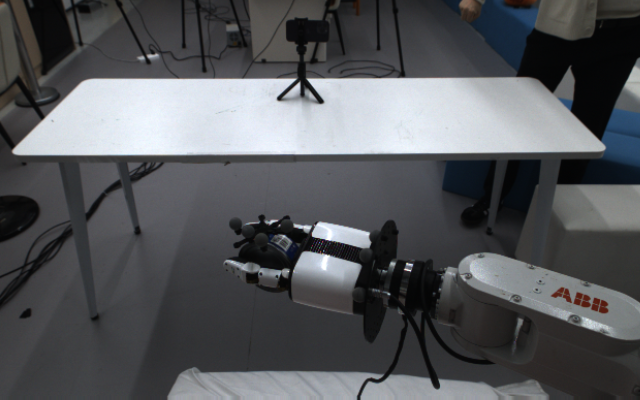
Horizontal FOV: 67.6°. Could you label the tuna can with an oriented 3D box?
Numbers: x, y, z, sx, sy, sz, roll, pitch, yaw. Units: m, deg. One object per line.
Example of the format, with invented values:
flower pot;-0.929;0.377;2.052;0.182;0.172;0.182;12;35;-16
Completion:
tuna can;-0.065;0.084;0.667;0.085;0.085;0.034;14;34;17
